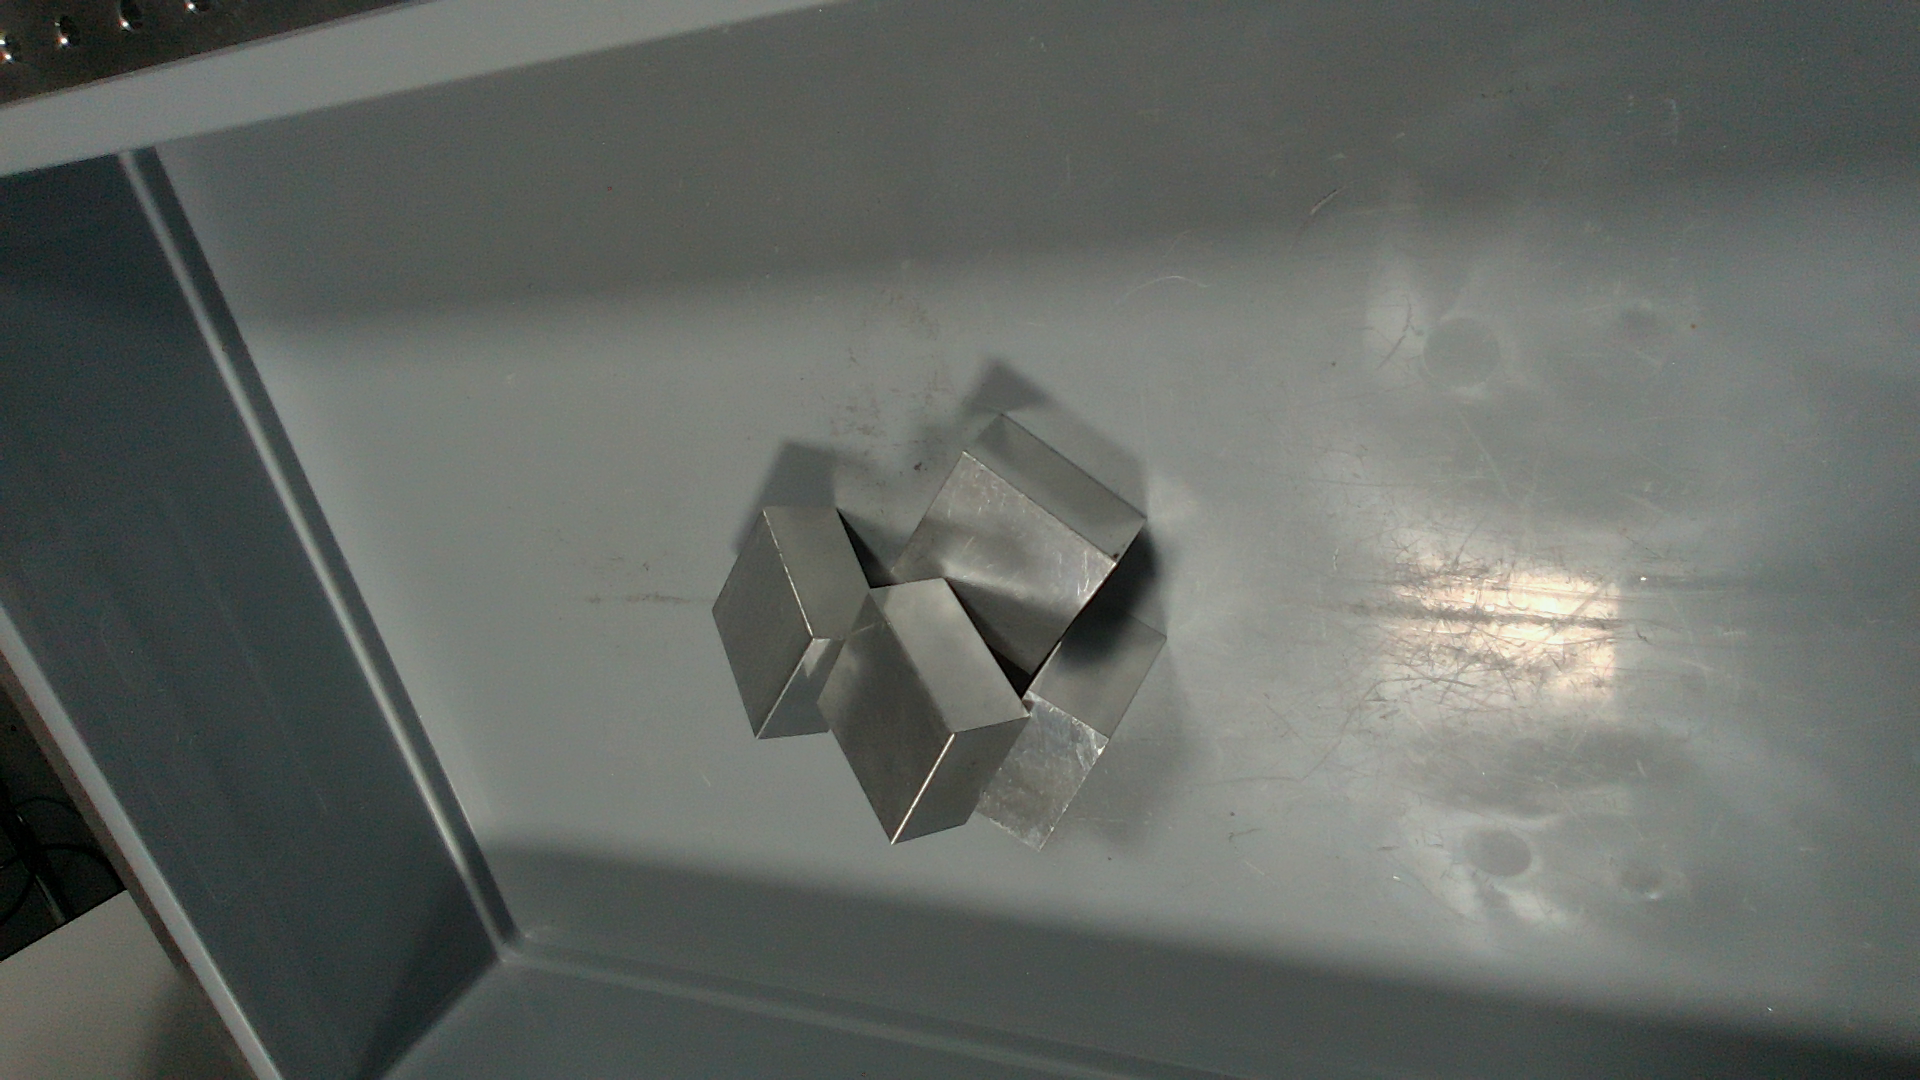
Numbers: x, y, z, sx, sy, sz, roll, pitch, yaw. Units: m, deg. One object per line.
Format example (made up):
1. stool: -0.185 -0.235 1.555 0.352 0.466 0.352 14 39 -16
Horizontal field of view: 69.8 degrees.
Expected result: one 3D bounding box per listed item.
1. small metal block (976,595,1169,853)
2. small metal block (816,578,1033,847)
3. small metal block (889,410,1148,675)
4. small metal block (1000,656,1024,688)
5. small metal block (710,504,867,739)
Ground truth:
1. small metal block: 0.031 0.051 0.390 0.025 0.050 0.050 31 129 9
2. small metal block: -0.012 0.047 0.378 0.050 0.025 0.050 57 137 32
3. small metal block: 0.016 0.001 0.384 0.050 0.025 0.050 36 129 4
4. small metal block: -0.007 0.043 0.422 0.050 0.025 0.050 36 129 4
5. small metal block: -0.050 0.024 0.418 0.050 0.025 0.050 -57 46 40
